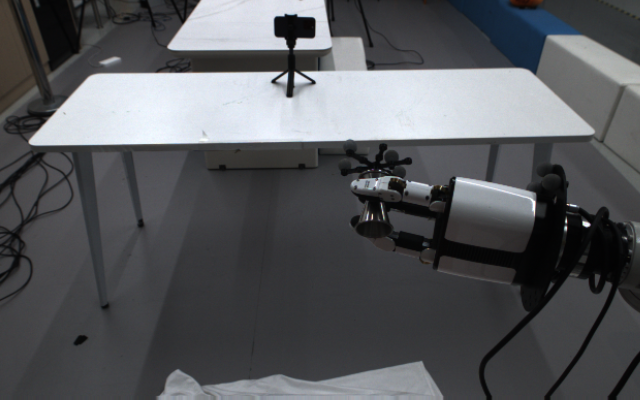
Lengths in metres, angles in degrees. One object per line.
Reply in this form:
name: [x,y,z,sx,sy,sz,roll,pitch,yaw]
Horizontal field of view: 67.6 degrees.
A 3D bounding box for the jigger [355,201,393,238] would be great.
jigger: [0.062,0.002,0.556,0.043,0.043,0.071,4,61,3]
